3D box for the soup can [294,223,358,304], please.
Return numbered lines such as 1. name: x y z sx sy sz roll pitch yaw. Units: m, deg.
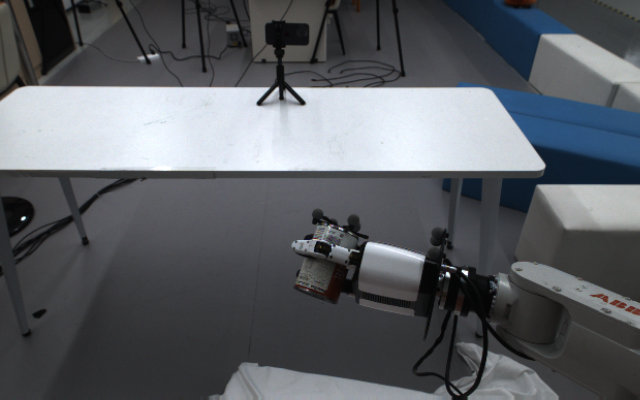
1. soup can: 0.011 0.093 0.705 0.067 0.067 0.101 16 75 19
